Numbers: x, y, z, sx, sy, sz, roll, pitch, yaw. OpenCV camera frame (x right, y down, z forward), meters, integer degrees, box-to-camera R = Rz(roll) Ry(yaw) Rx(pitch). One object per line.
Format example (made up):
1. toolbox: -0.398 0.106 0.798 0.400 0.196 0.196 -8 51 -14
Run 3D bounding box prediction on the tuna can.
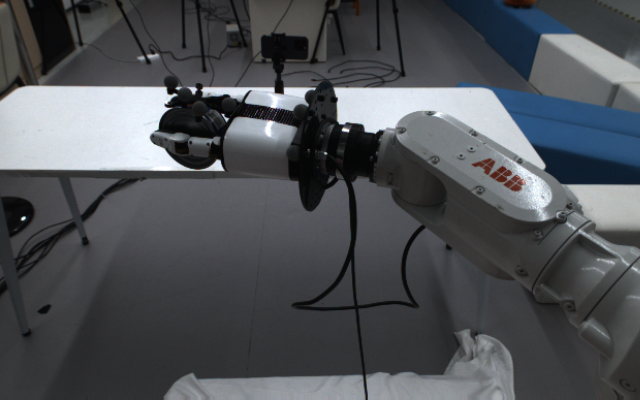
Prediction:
1. tuna can: -0.160 -0.085 0.623 0.085 0.085 0.034 12 33 14
